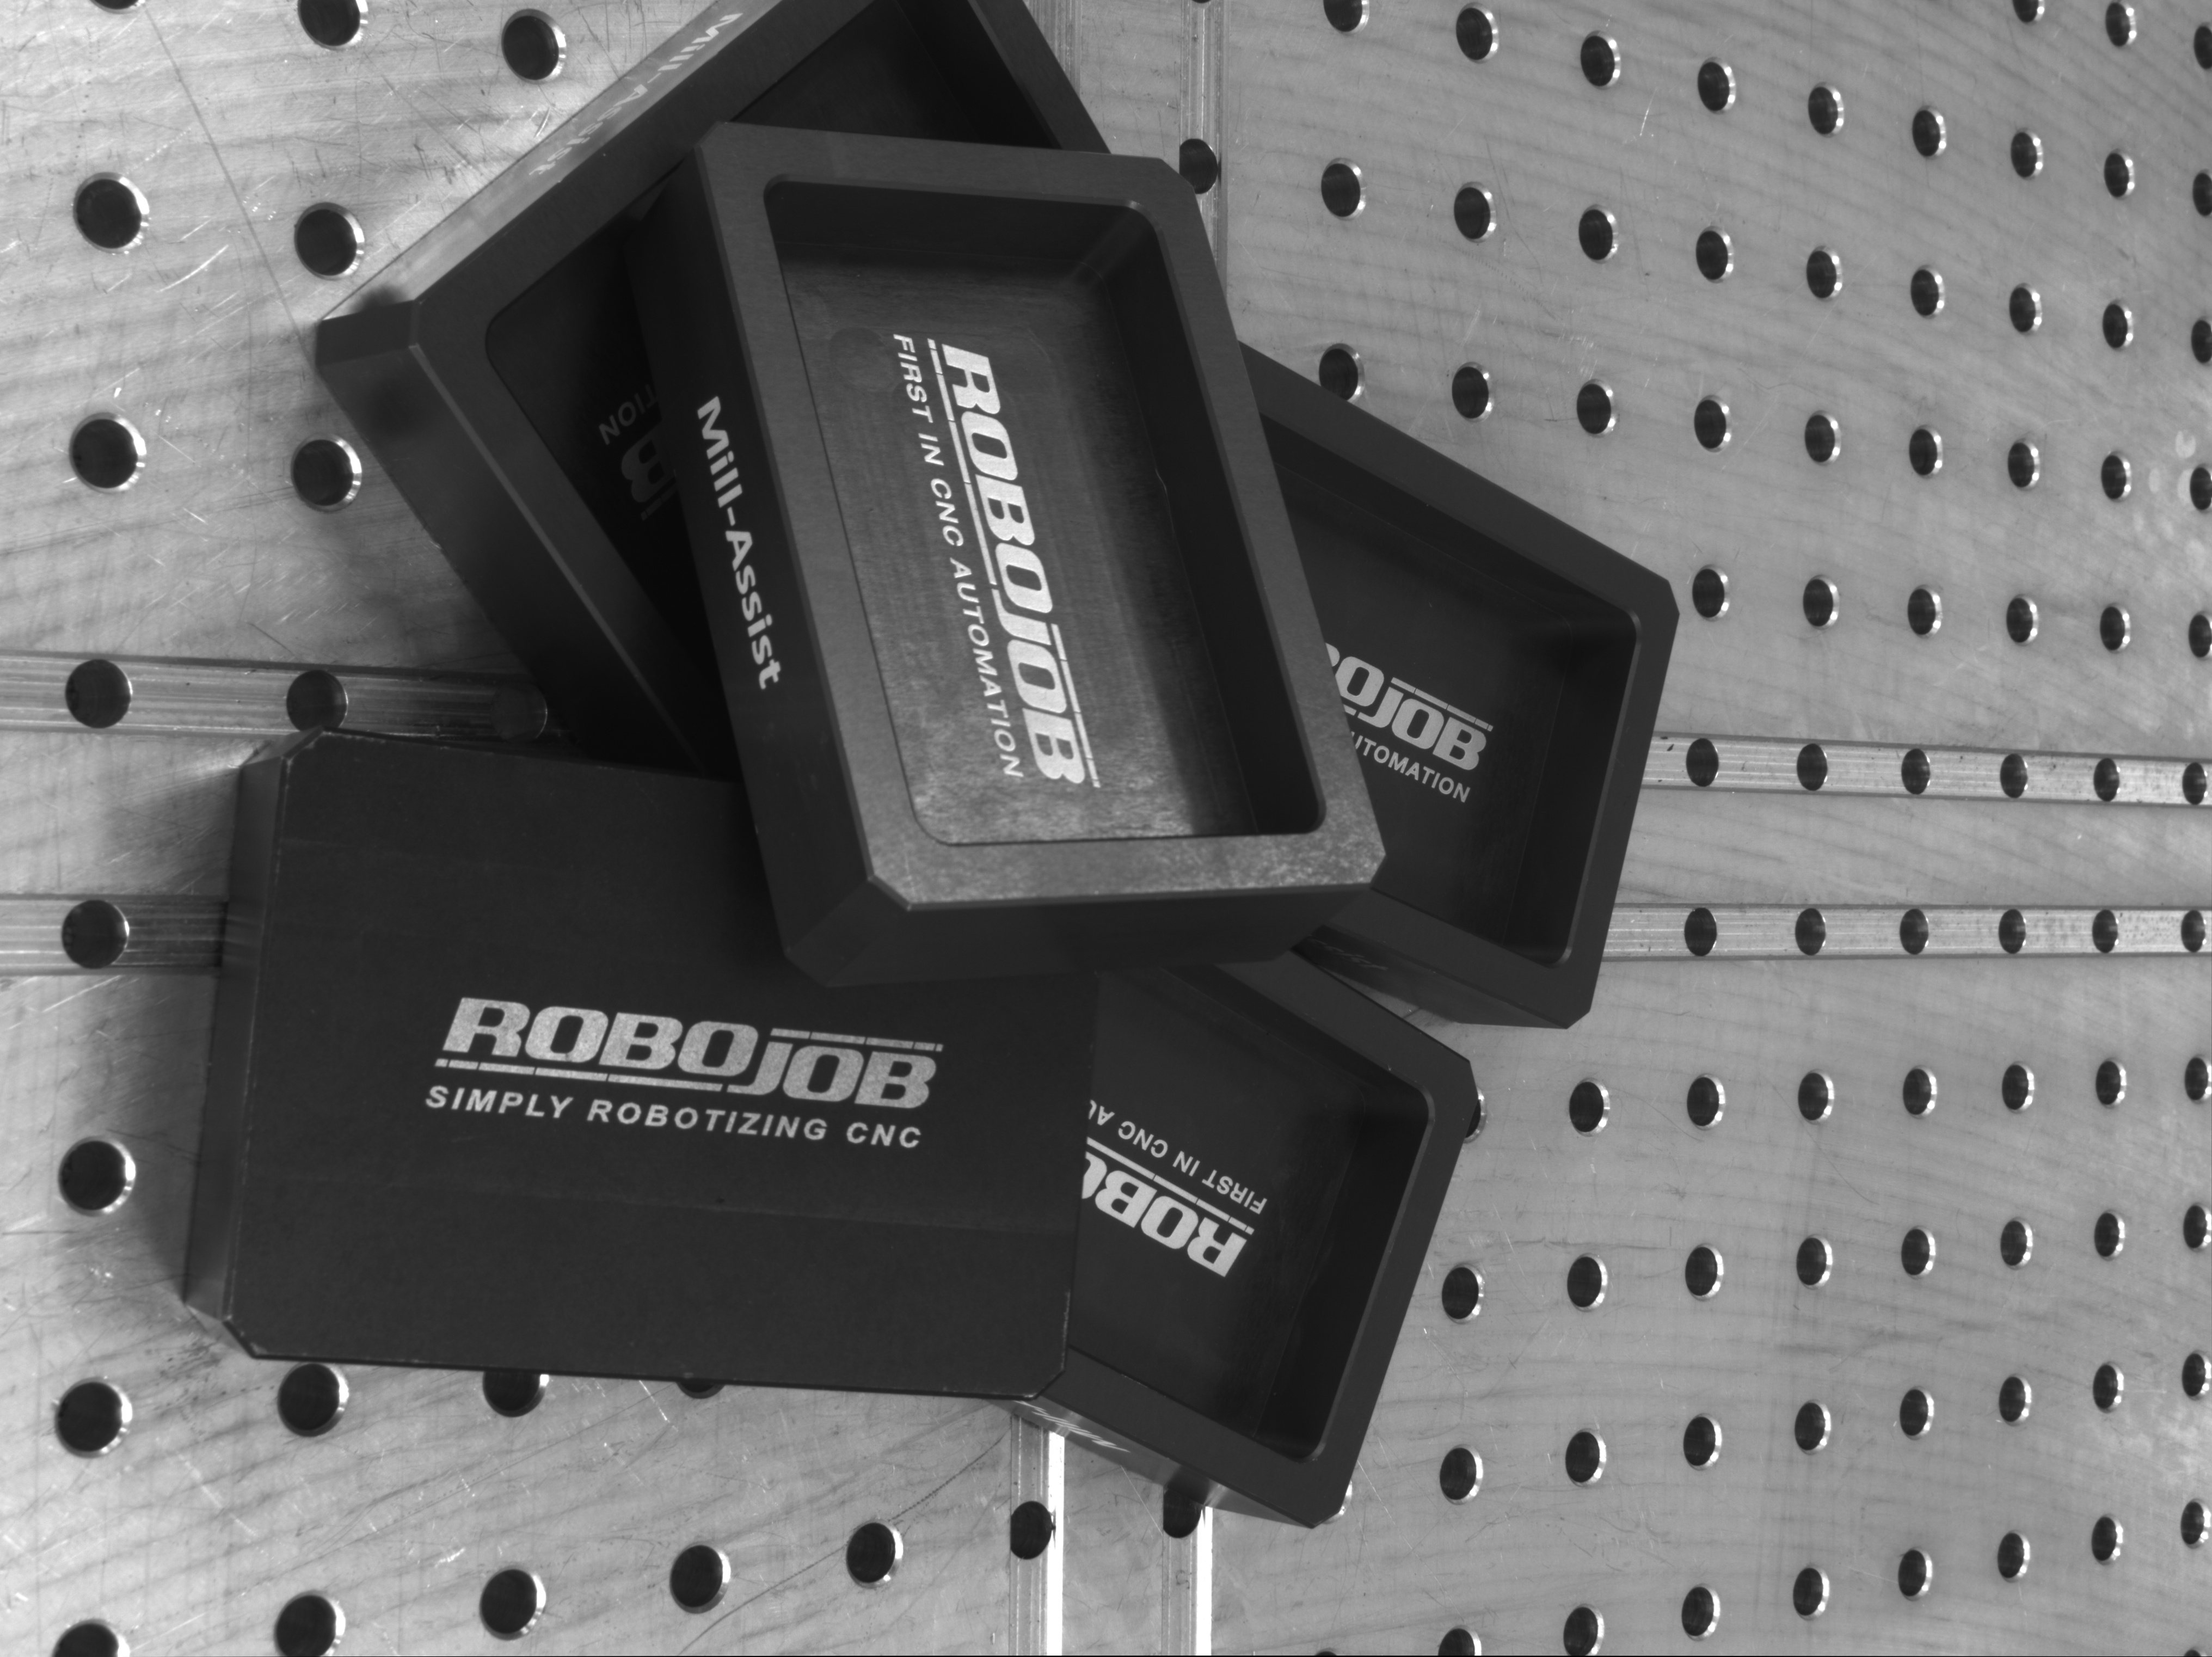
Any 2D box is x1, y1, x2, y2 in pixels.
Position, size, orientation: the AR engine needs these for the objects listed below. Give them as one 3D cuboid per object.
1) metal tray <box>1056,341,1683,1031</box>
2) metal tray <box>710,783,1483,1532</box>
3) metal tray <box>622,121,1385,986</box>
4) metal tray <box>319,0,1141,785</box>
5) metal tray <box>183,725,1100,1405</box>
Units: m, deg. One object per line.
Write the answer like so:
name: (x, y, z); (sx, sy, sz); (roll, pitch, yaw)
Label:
metal tray: (0.045, -0.024, 0.672); (0.130, 0.030, 0.090); (23, 76, -37)
metal tray: (0.002, 0.057, 0.636); (0.130, 0.030, 0.090); (32, 71, -35)
metal tray: (-0.017, -0.043, 0.567); (0.090, 0.030, 0.130); (-2, 67, -32)
metal tray: (-0.051, -0.080, 0.592); (0.130, 0.030, 0.090); (-47, 117, -29)
metal tray: (-0.067, 0.038, 0.558); (0.130, 0.030, 0.090); (8, 85, -25)
